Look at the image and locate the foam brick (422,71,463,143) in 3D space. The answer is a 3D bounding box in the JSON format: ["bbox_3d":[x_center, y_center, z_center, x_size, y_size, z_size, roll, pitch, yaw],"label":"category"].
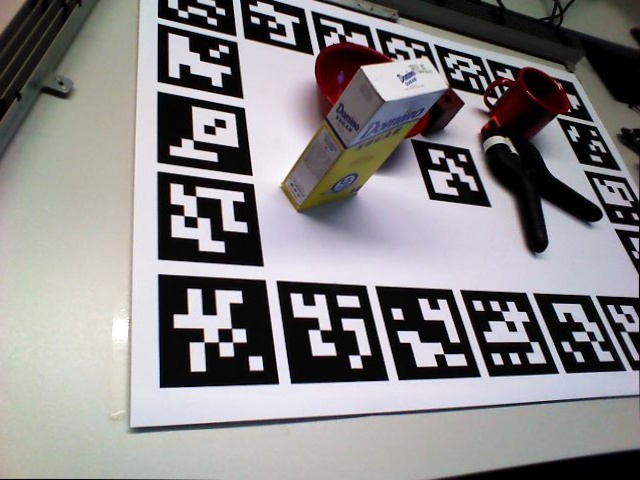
[{"bbox_3d":[0.159,-0.185,0.722,0.052,0.052,0.078,-25,75,-34],"label":"foam brick"}]

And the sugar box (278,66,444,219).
[{"bbox_3d":[0.034,-0.092,0.518,0.092,0.178,0.045,-22,74,-36],"label":"sugar box"}]

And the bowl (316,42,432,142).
[{"bbox_3d":[0.059,-0.173,0.657,0.161,0.055,0.160,13,56,-20],"label":"bowl"}]

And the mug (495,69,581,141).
[{"bbox_3d":[0.319,-0.206,0.783,0.117,0.082,0.092,29,52,-12],"label":"mug"}]

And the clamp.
[{"bbox_3d":[0.300,-0.088,0.726,0.164,0.037,0.202,-21,72,-32],"label":"clamp"}]
